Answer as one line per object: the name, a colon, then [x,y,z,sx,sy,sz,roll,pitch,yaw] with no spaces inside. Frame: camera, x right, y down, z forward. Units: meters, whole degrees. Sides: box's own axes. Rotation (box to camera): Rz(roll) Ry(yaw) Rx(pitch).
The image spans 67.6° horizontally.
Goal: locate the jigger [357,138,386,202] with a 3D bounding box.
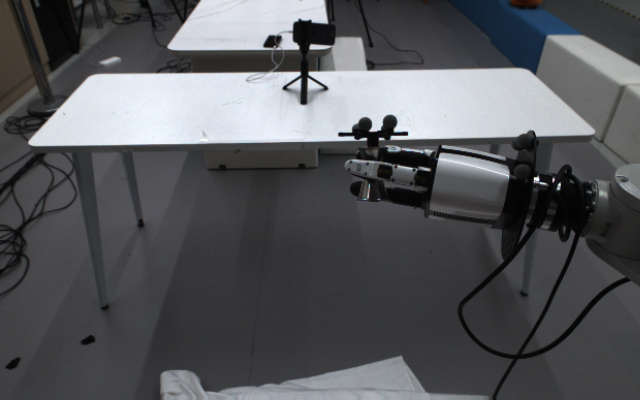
jigger: [0.069,-0.034,0.628,0.043,0.071,0.043,-1,2,0]
